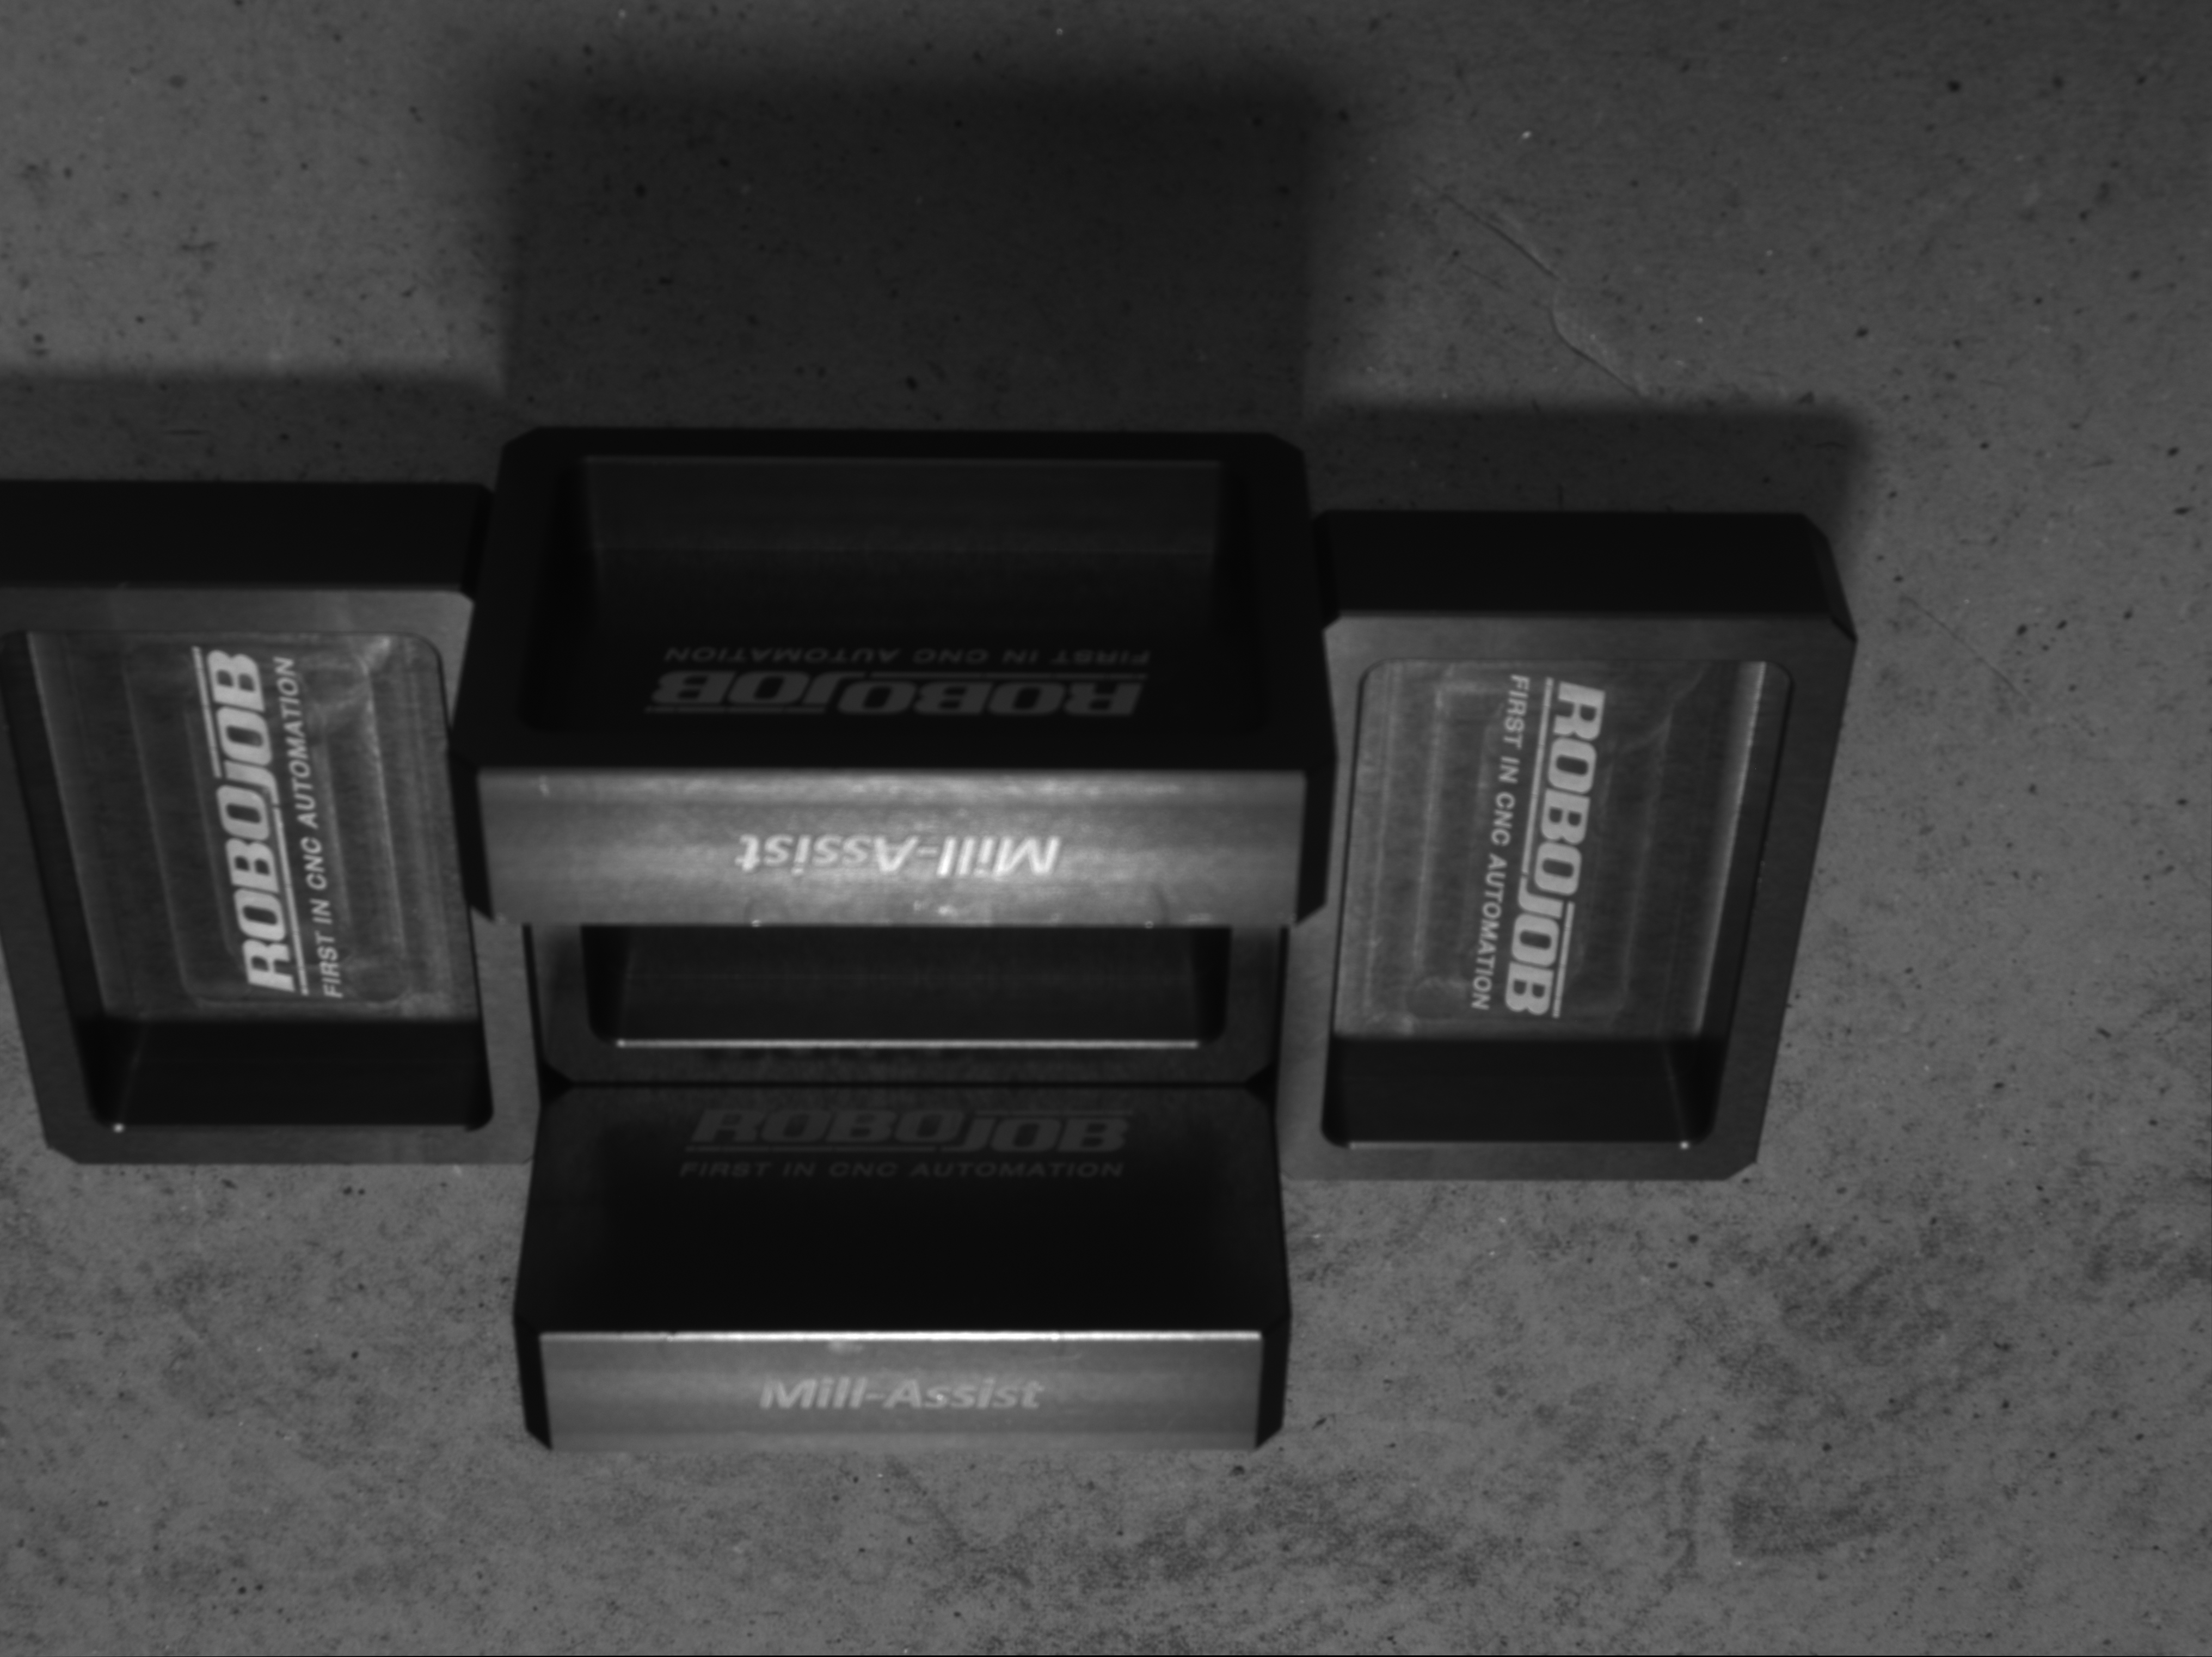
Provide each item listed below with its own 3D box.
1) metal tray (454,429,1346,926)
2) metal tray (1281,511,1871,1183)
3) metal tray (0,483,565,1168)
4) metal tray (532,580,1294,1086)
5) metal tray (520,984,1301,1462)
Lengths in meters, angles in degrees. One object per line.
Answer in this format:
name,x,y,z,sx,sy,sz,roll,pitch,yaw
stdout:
metal tray,-0.031,-0.025,0.574,0.130,0.090,0.030,0,130,-2
metal tray,0.078,0.006,0.643,0.090,0.030,0.130,0,130,-2
metal tray,-0.143,0.003,0.632,0.090,0.030,0.130,0,130,-2
metal tray,-0.033,0.002,0.636,0.130,0.030,0.090,1,130,-2
metal tray,-0.034,0.068,0.650,0.130,0.090,0.030,0,130,-2
